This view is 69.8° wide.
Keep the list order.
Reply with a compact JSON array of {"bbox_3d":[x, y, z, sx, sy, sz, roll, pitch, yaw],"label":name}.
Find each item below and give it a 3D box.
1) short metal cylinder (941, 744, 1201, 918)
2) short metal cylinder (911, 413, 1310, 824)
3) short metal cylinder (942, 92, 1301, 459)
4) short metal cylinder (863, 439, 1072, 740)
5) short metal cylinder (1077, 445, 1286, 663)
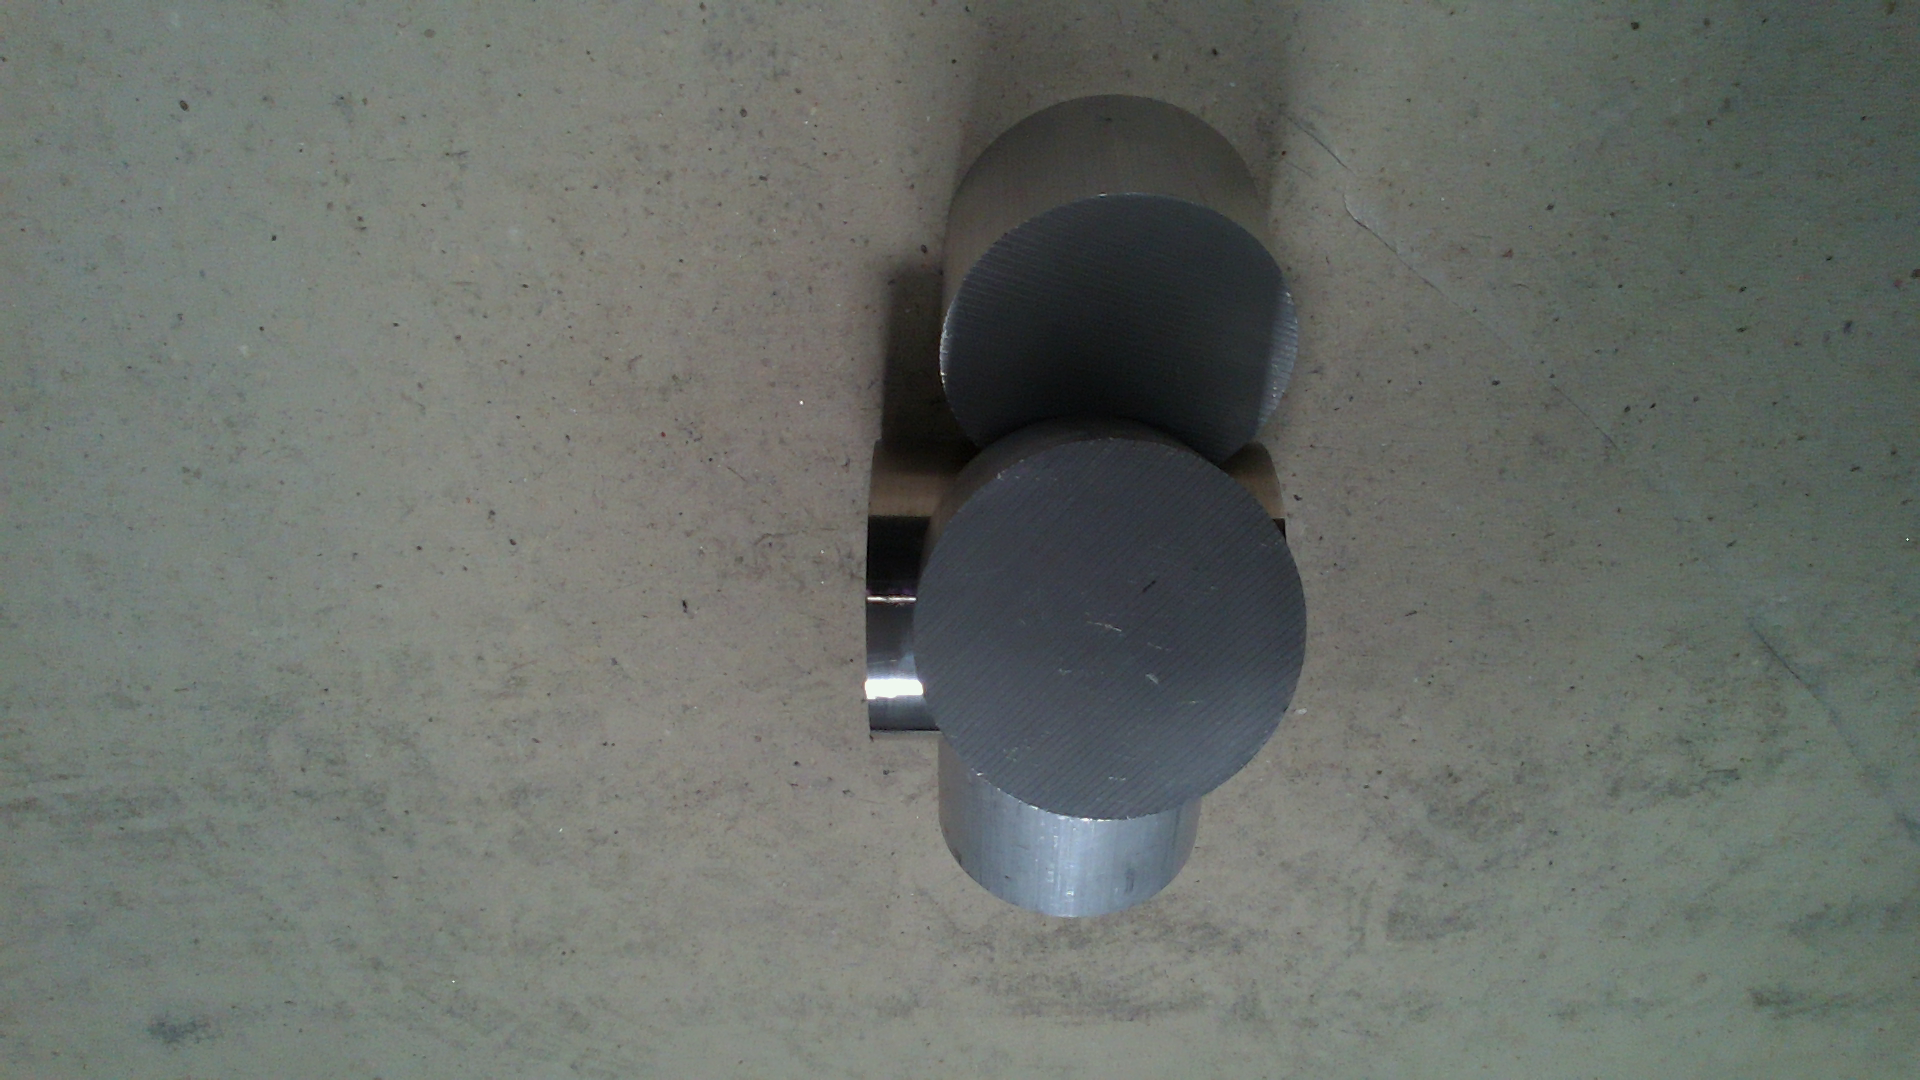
[{"bbox_3d":[0.033,0.063,0.409,0.080,0.080,0.050,0,130,0],"label":"short metal cylinder"},{"bbox_3d":[0.030,0.014,0.300,0.080,0.050,0.080,0,102,0],"label":"short metal cylinder"},{"bbox_3d":[0.036,-0.058,0.327,0.080,0.050,0.080,0,130,0],"label":"short metal cylinder"},{"bbox_3d":[0.002,0.013,0.367,0.050,0.080,0.080,0,130,0],"label":"short metal cylinder"},{"bbox_3d":[0.054,0.014,0.366,0.050,0.080,0.080,1,130,1],"label":"short metal cylinder"}]
